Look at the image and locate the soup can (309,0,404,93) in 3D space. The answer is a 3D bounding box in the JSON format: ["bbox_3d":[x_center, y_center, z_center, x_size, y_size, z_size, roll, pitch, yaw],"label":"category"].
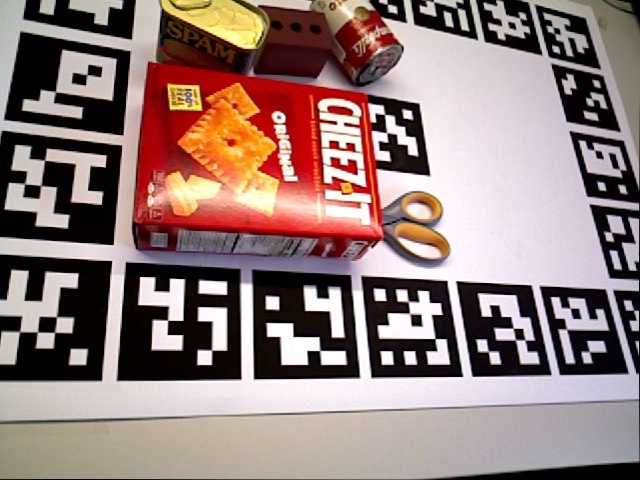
[{"bbox_3d":[0.038,-0.232,0.628,0.066,0.069,0.102,-36,81,-28],"label":"soup can"}]

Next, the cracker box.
[{"bbox_3d":[-0.057,-0.063,0.500,0.211,0.073,0.163,-2,71,-18],"label":"cracker box"}]

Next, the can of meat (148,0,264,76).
[{"bbox_3d":[-0.116,-0.195,0.535,0.101,0.085,0.057,18,65,-14],"label":"can of meat"}]

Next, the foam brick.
[{"bbox_3d":[-0.036,-0.212,0.593,0.077,0.052,0.052,-6,73,-23],"label":"foam brick"}]

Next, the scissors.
[{"bbox_3d":[0.042,-0.010,0.554,0.200,0.016,0.087,-1,72,-21],"label":"scissors"}]
